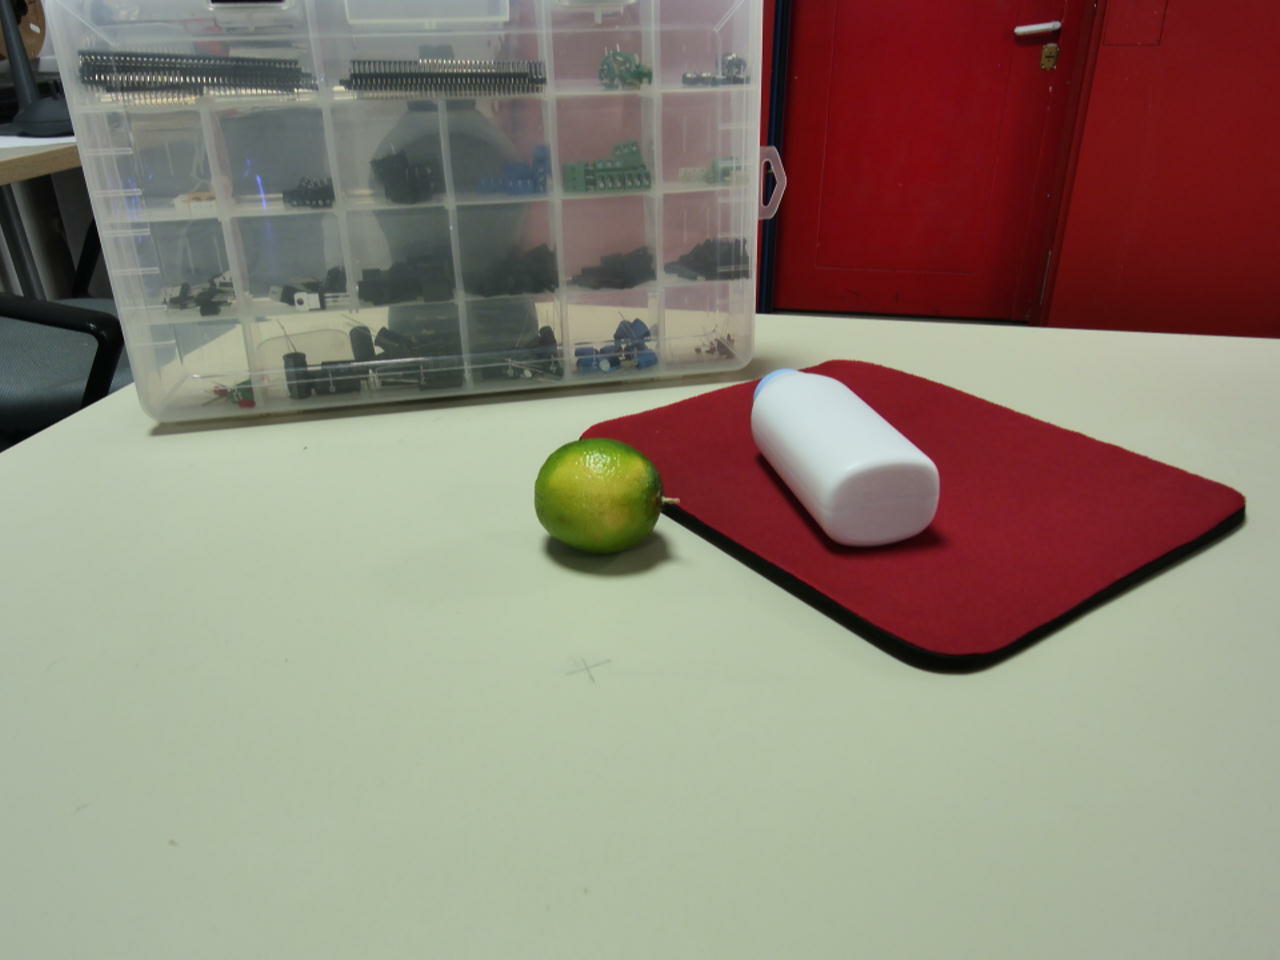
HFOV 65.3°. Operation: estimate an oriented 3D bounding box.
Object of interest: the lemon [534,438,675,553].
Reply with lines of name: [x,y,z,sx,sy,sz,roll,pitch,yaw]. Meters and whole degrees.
lemon: [-0.018,0.007,0.439,0.054,0.050,0.055,-13,27,-24]
